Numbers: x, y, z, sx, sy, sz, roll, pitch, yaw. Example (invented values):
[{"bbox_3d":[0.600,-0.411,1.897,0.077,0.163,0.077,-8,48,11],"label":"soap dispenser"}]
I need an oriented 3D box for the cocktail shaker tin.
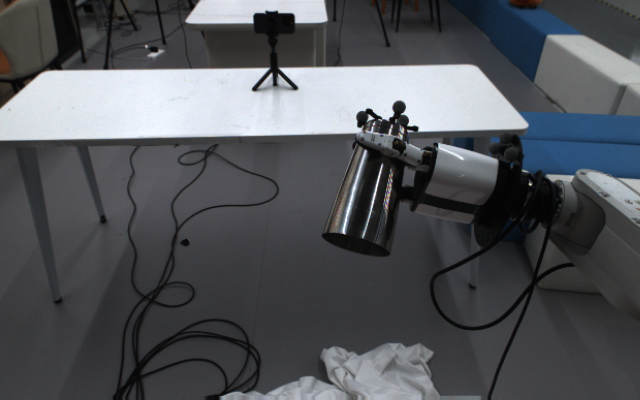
[{"bbox_3d":[0.071,-0.022,0.654,0.093,0.093,0.170,12,72,14],"label":"cocktail shaker tin"}]
